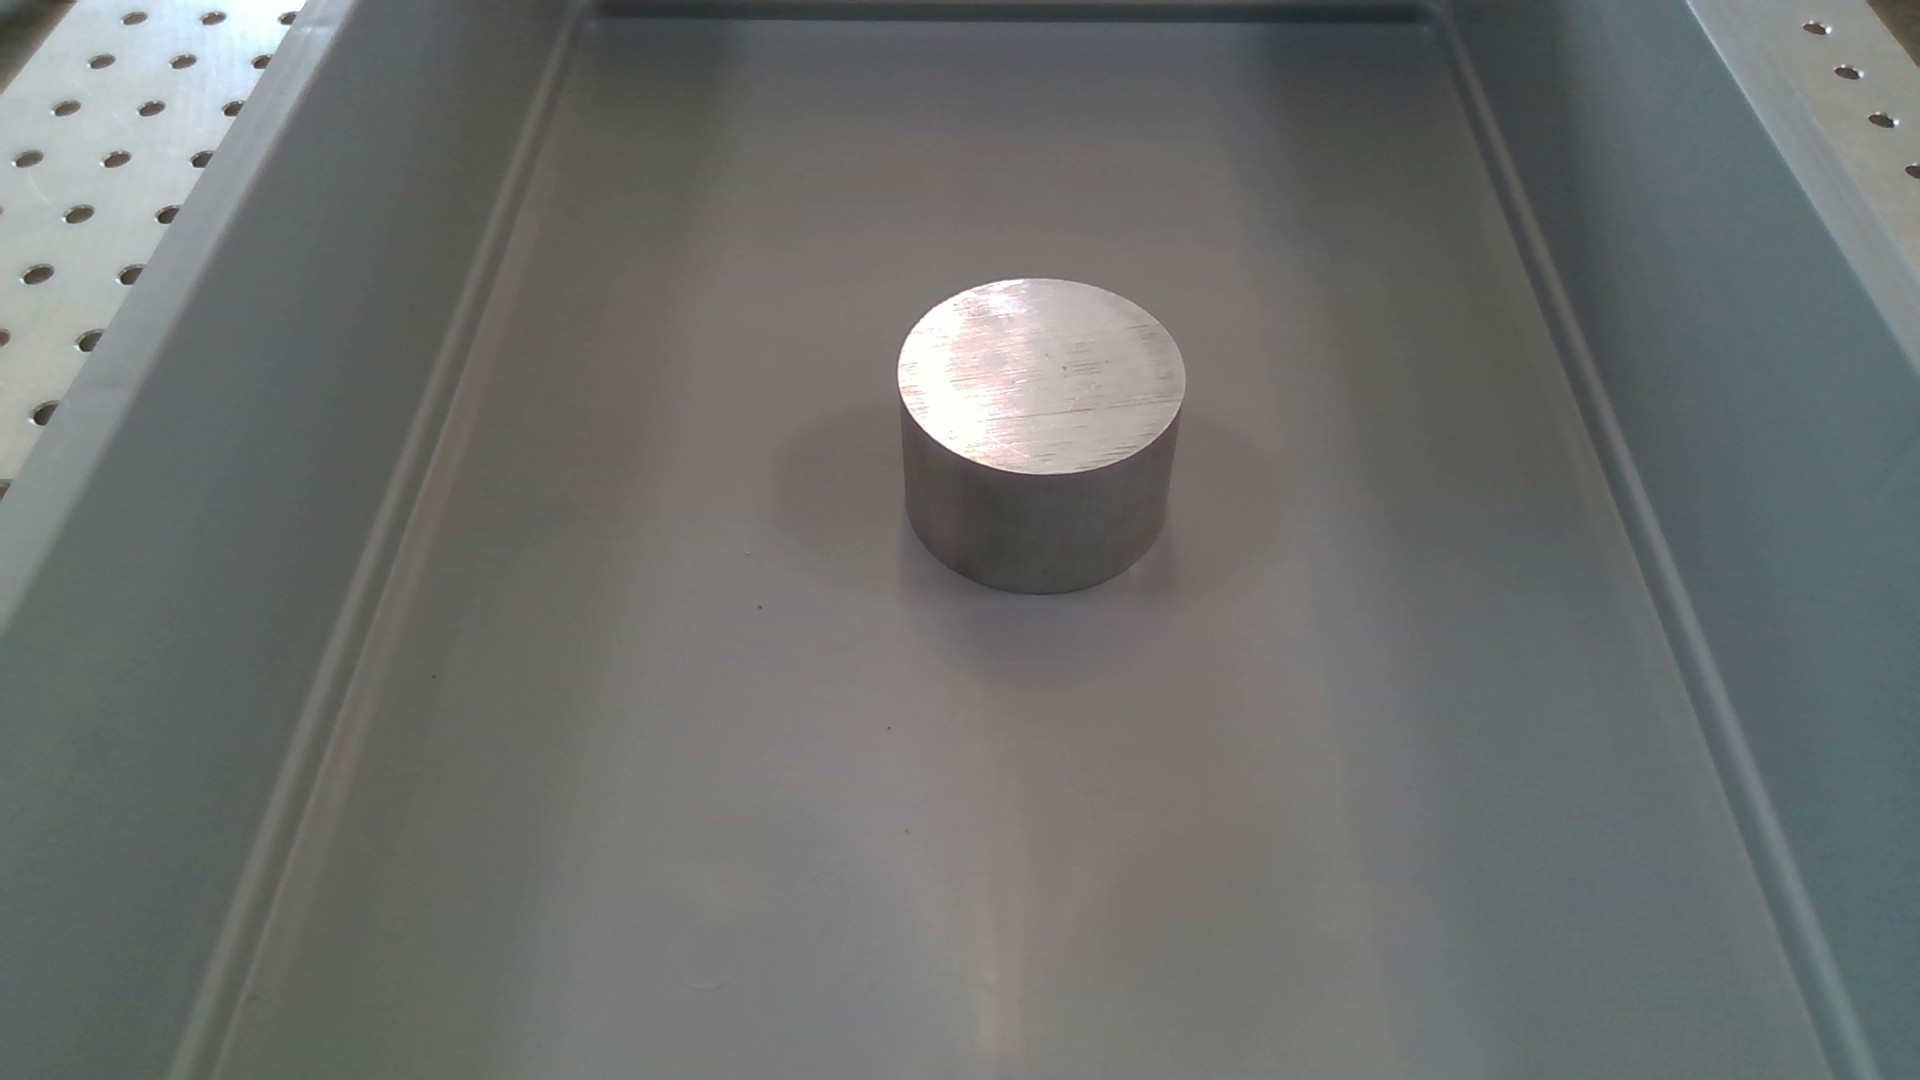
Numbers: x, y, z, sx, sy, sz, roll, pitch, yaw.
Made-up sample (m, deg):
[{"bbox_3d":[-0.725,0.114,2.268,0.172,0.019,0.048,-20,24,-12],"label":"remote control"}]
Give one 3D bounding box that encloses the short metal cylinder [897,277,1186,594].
[{"bbox_3d":[0.022,-0.031,0.401,0.080,0.050,0.080,0,50,0],"label":"short metal cylinder"}]
